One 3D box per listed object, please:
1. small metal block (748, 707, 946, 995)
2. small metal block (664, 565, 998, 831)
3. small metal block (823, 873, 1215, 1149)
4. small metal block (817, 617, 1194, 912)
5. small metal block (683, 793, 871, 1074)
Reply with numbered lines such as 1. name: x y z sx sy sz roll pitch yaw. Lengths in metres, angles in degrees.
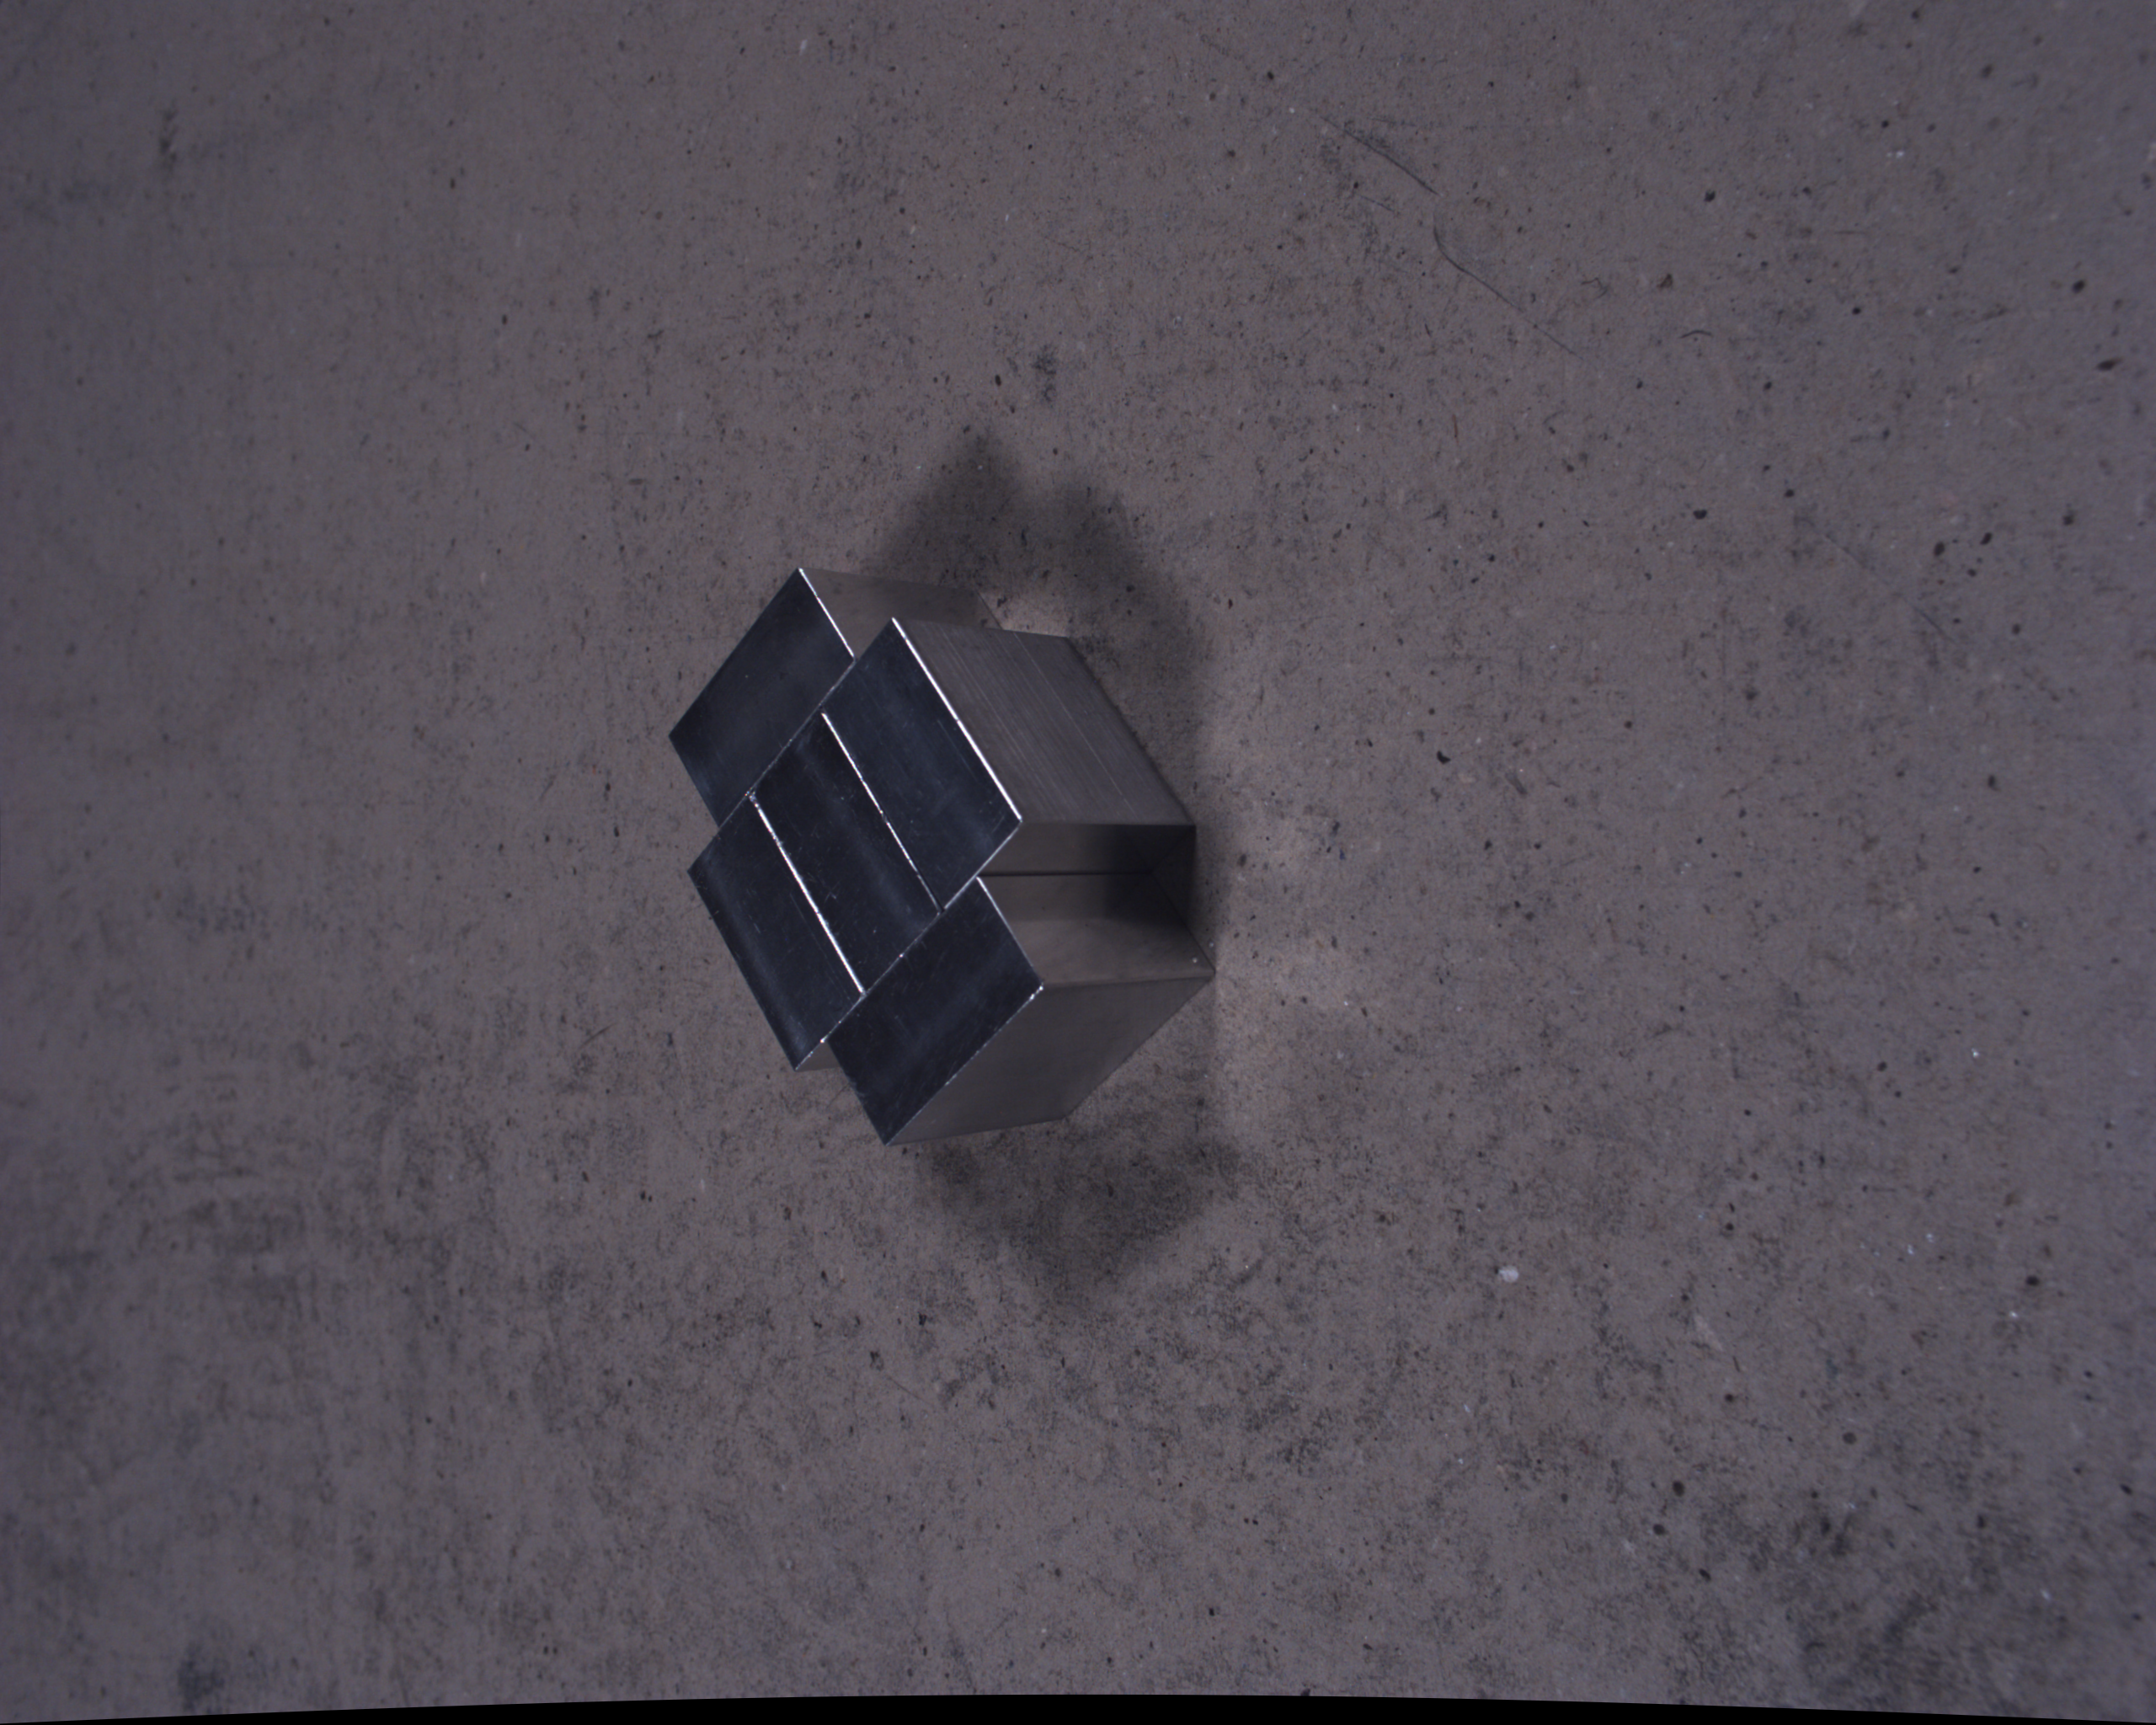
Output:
1. small metal block: -0.029 -0.003 0.411 0.025 0.050 0.050 -47 62 30
2. small metal block: -0.047 -0.032 0.426 0.050 0.050 0.025 -46 63 30
3. small metal block: -0.011 0.027 0.397 0.050 0.050 0.025 -46 63 30
4. small metal block: -0.014 -0.018 0.399 0.025 0.050 0.050 -48 62 29
5. small metal block: -0.044 0.013 0.423 0.025 0.050 0.050 -47 62 30
